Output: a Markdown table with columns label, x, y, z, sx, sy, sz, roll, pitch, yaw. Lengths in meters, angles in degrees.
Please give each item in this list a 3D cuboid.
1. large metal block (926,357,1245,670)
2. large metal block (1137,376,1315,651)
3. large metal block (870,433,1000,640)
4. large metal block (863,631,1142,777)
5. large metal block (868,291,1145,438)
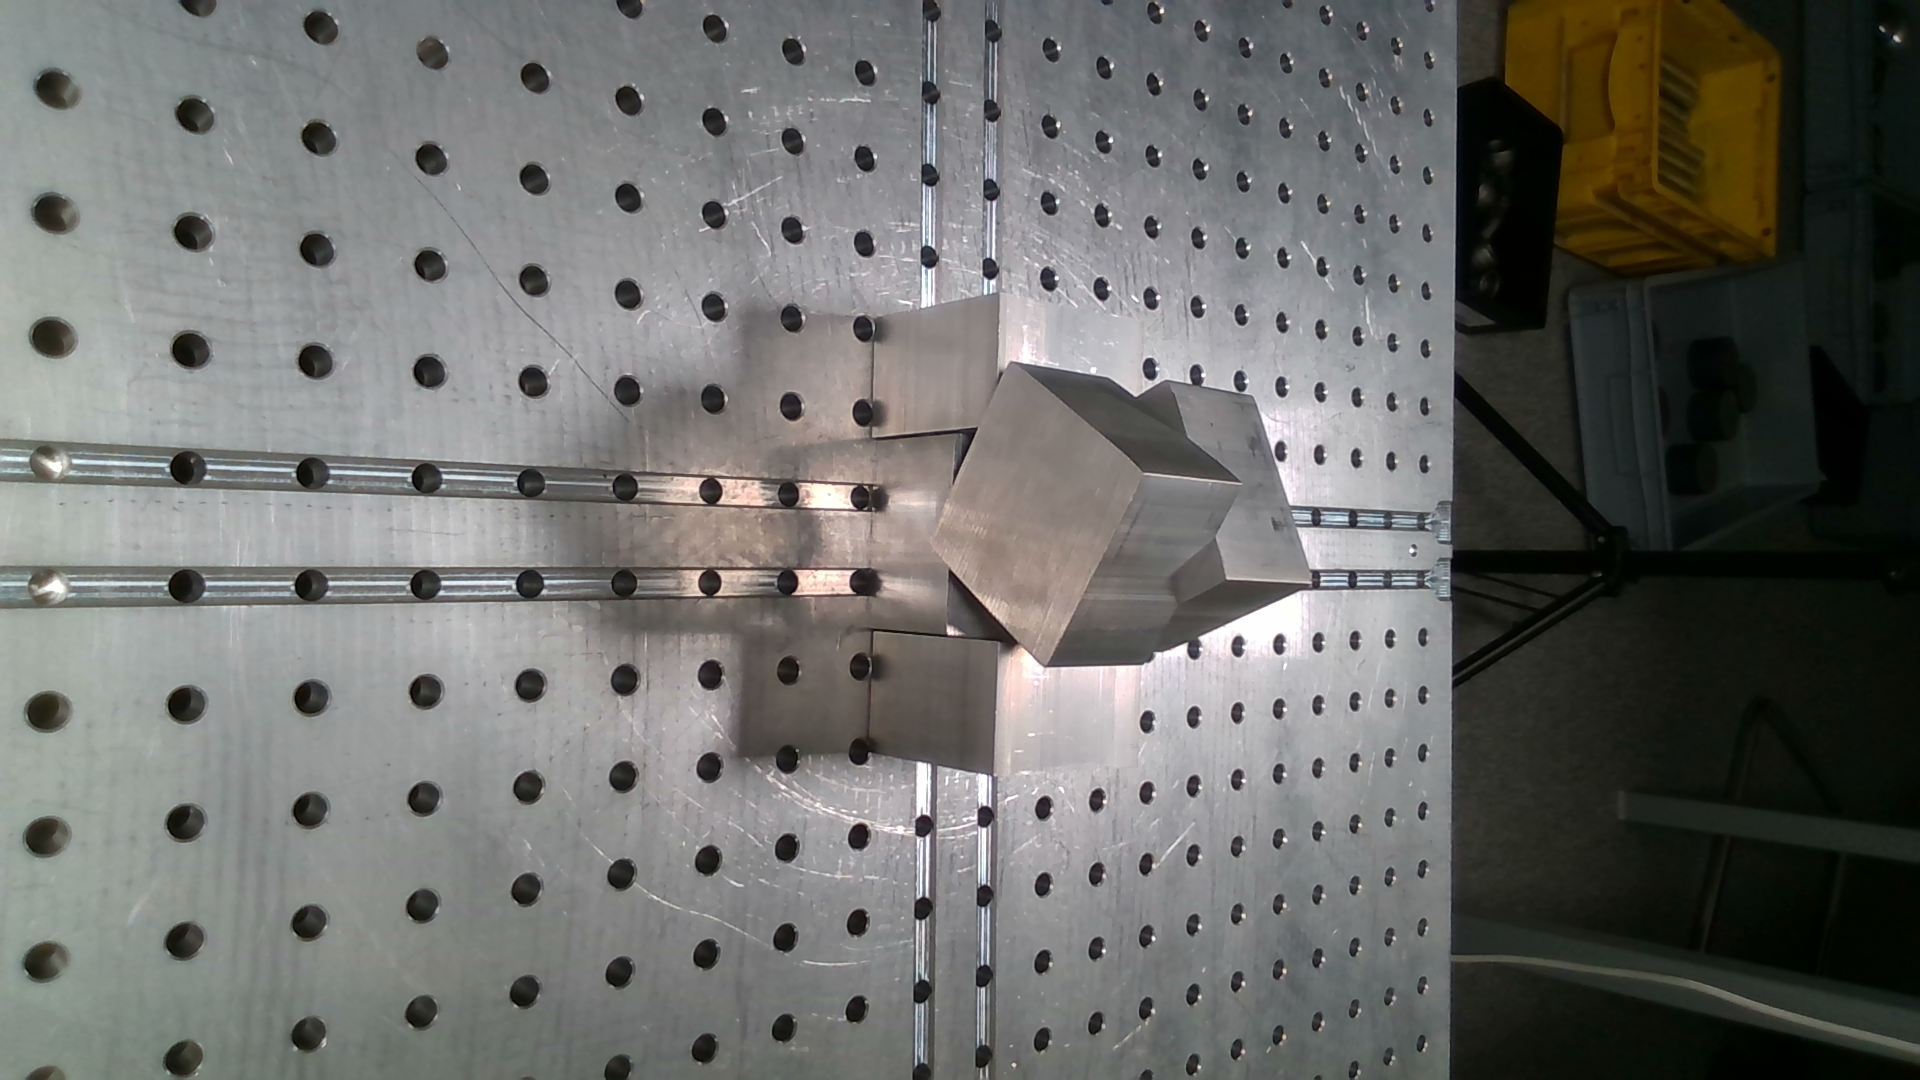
| label | x | y | z | sx | sy | sz | roll | pitch | yaw |
| --- | --- | --- | --- | --- | --- | --- | --- | --- | --- |
| large metal block | 0.043 | -0.009 | 0.499 | 0.050 | 0.080 | 0.080 | 3 | 121 | -41 |
| large metal block | 0.079 | -0.007 | 0.534 | 0.050 | 0.080 | 0.080 | 3 | 65 | -41 |
| large metal block | 0.011 | 0.001 | 0.576 | 0.080 | 0.050 | 0.080 | 3 | 88 | -40 |
| large metal block | 0.018 | 0.065 | 0.565 | 0.080 | 0.080 | 0.050 | 5 | 87 | -40 |
| large metal block | 0.019 | -0.066 | 0.566 | 0.080 | 0.080 | 0.050 | 2 | 88 | -40 |
